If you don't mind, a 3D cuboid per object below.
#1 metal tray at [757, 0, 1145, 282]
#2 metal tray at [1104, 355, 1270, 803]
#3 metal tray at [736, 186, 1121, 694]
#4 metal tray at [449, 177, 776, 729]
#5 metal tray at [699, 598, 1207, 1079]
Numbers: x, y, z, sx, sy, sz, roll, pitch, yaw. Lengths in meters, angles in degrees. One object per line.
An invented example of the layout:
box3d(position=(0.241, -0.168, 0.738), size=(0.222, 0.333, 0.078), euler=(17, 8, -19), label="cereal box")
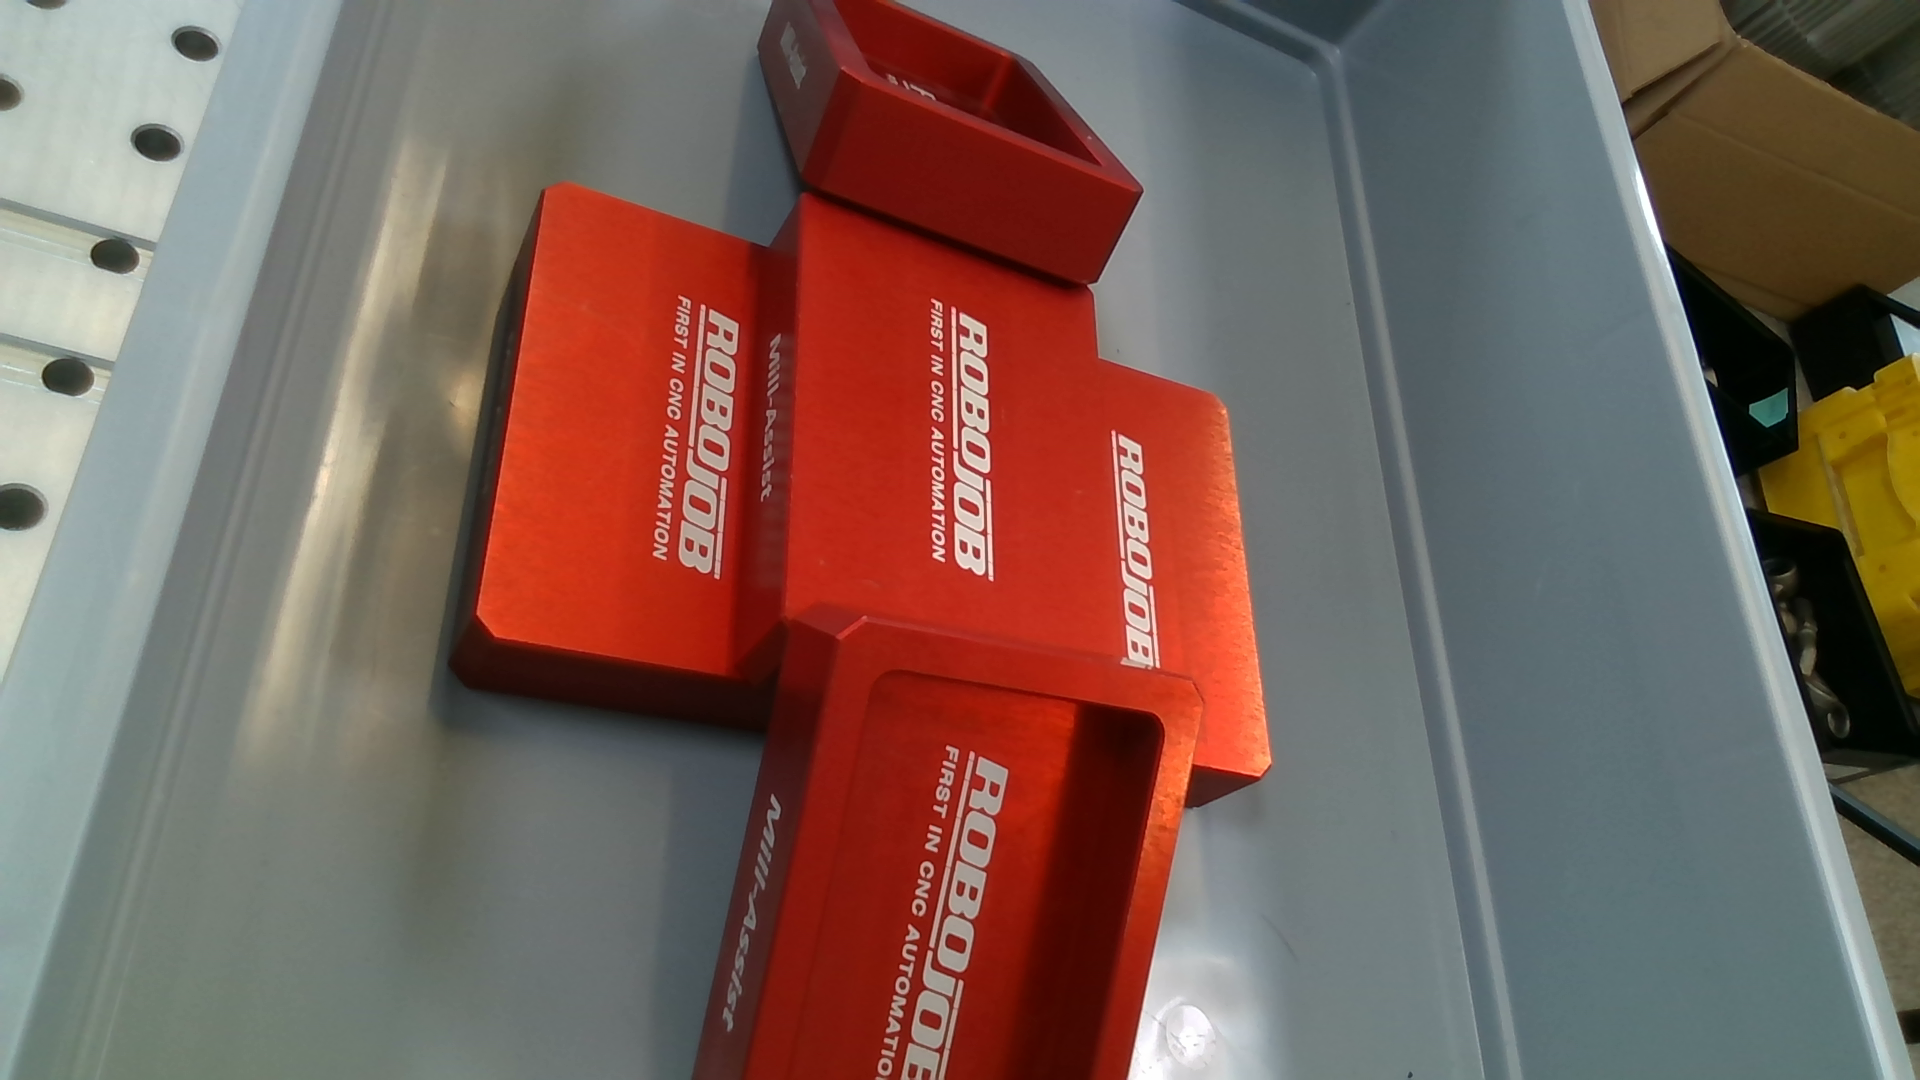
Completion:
box3d(position=(-0.008, -0.129, 0.413), size=(0.090, 0.030, 0.130), euler=(14, 29, -24), label="metal tray")
box3d(position=(0.041, 0.007, 0.409), size=(0.090, 0.030, 0.130), euler=(14, 59, -25), label="metal tray")
box3d(position=(-0.007, -0.021, 0.357), size=(0.090, 0.030, 0.130), euler=(13, 60, -26), label="metal tray")
box3d(position=(-0.072, -0.022, 0.354), size=(0.090, 0.030, 0.130), euler=(14, 59, -25), label="metal tray")
box3d(position=(-0.002, 0.085, 0.301), size=(0.090, 0.030, 0.130), euler=(12, 89, -25), label="metal tray")
